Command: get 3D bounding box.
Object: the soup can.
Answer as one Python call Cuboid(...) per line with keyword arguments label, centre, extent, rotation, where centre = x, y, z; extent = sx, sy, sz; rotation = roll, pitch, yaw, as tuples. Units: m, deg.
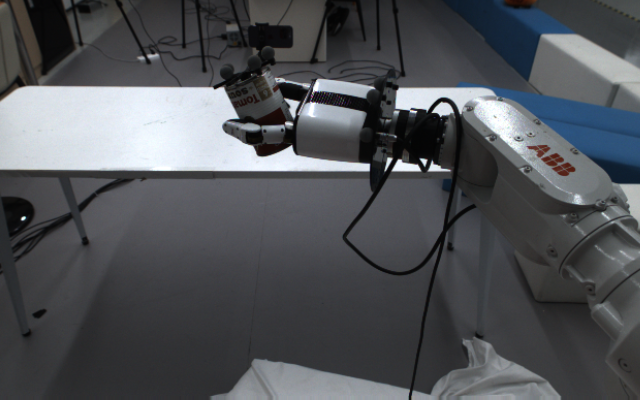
Cuboid(label="soup can", centre=(-0.075, -0.119, 0.655), extent=(0.067, 0.101, 0.067), rotation=(-22, 24, 10))
